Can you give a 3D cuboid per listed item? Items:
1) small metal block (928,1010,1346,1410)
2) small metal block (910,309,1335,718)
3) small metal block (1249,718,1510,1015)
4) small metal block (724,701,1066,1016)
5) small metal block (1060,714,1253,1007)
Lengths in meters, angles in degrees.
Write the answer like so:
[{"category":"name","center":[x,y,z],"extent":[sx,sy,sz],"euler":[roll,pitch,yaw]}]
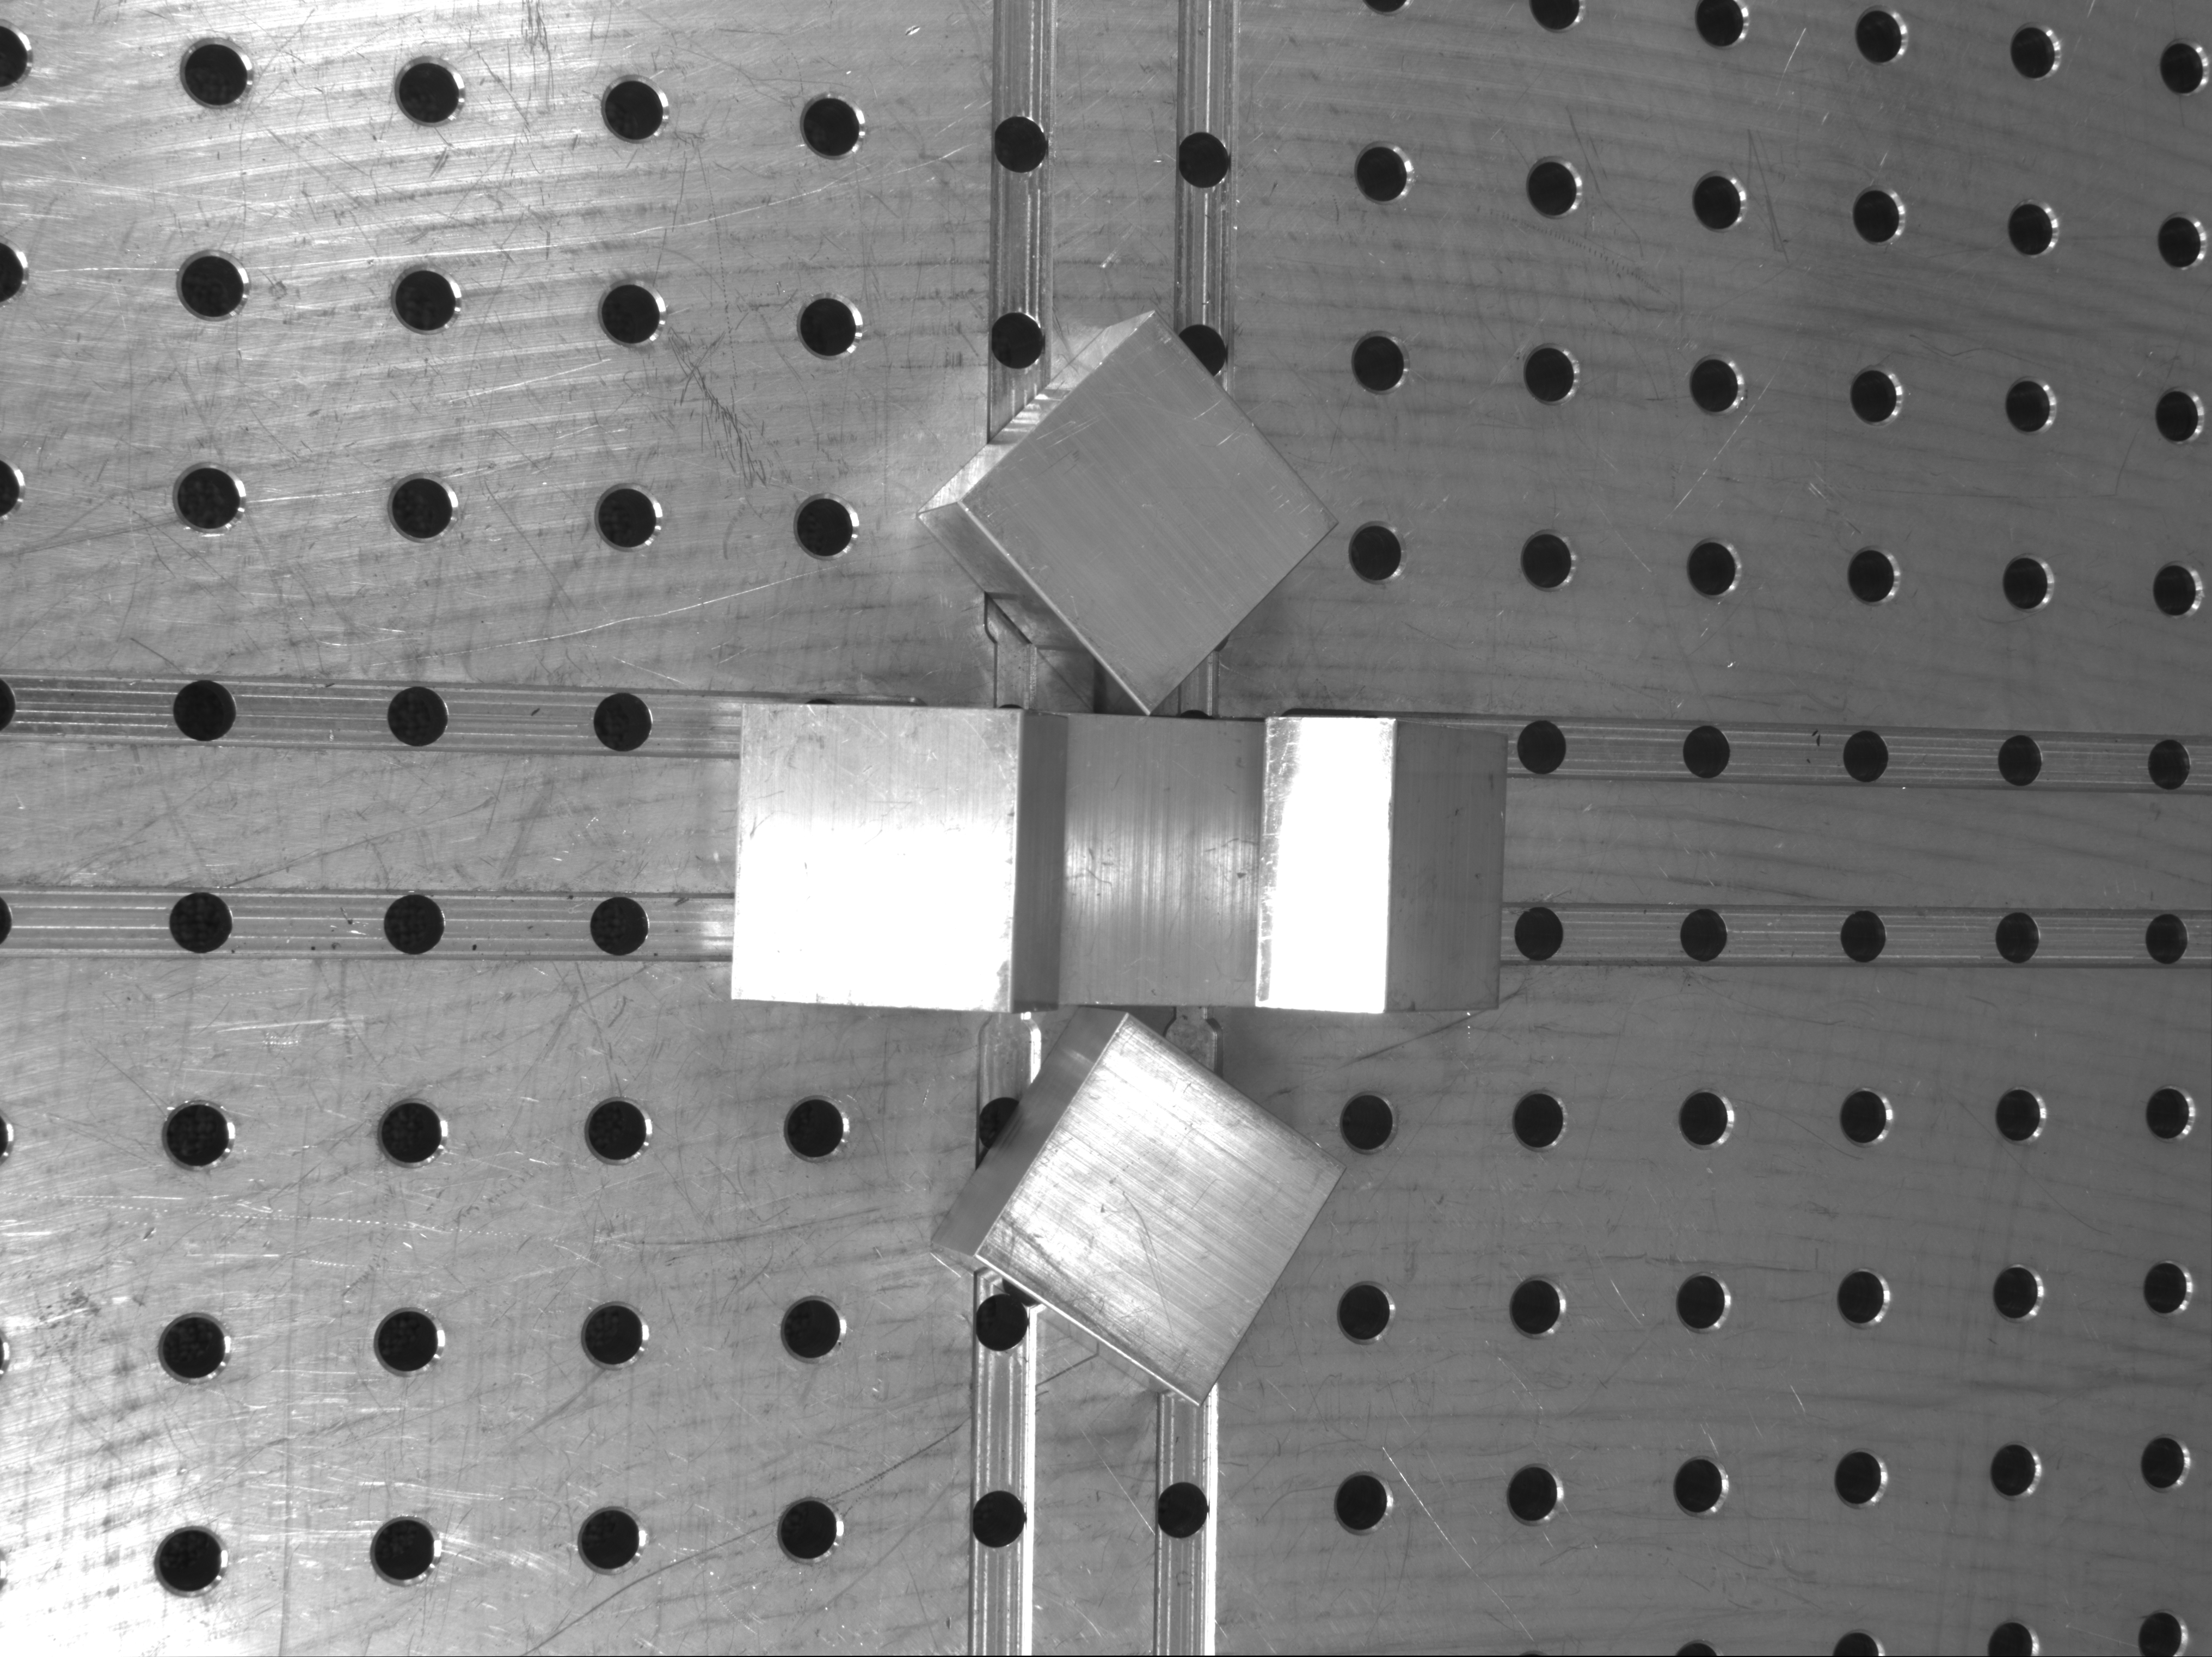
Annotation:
[{"category":"small metal block","center":[0.005,0.066,0.647],"extent":[0.050,0.025,0.050],"euler":[36,79,-15]},{"category":"small metal block","center":[0.003,-0.054,0.647],"extent":[0.050,0.025,0.050],"euler":[-46,103,-15]},{"category":"small metal block","center":[0.049,0.007,0.649],"extent":[0.050,0.025,0.050],"euler":[4,88,-60]},{"category":"small metal block","center":[-0.035,0.005,0.620],"extent":[0.050,0.025,0.050],"euler":[2,90,17]},{"category":"small metal block","center":[0.004,0.006,0.647],"extent":[0.050,0.025,0.050],"euler":[2,89,-20]}]
